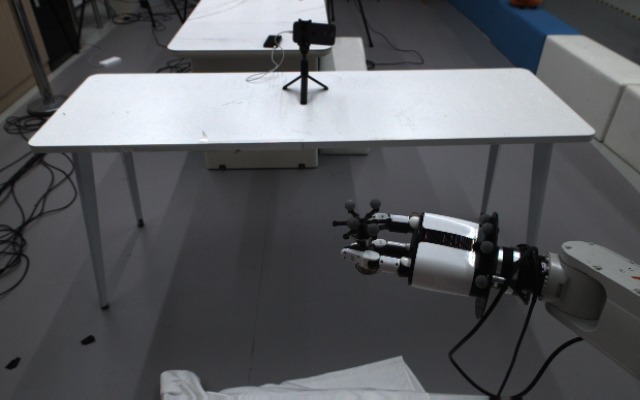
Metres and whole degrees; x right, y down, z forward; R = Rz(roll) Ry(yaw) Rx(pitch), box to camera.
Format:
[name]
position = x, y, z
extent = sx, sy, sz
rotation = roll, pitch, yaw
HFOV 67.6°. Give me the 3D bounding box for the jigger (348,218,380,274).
[jigger]
position = 0.072, 0.073, 0.754
extent = 0.043, 0.071, 0.043
rotation = -9, 31, 5
